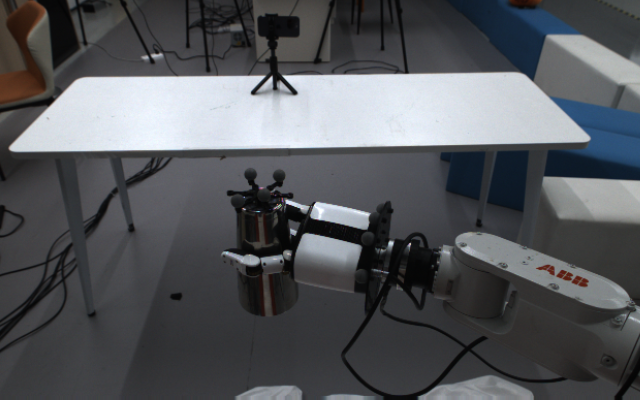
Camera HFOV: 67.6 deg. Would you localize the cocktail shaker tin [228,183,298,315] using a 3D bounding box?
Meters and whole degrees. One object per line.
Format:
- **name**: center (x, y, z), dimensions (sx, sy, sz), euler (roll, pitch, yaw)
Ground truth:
- **cocktail shaker tin**: center (-0.076, 0.071, 0.689), dimensions (0.093, 0.170, 0.093), euler (-1, 33, 0)
